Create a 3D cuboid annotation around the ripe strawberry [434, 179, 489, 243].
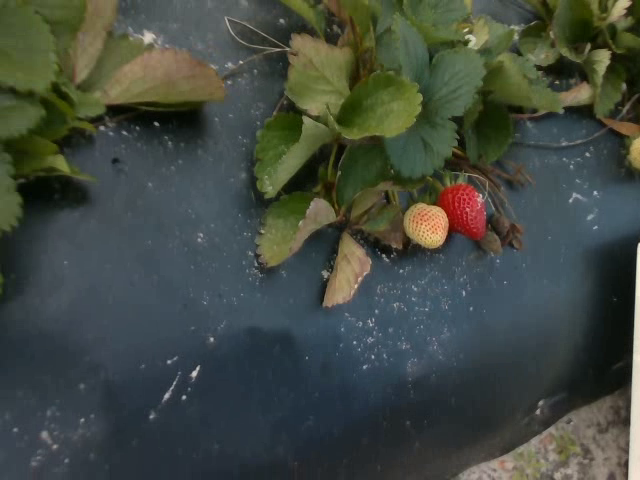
[{"bbox_3d":[0.089,-0.017,0.345,0.034,0.033,0.042,23,25,-31],"label":"ripe strawberry"}]
